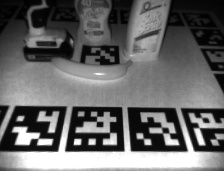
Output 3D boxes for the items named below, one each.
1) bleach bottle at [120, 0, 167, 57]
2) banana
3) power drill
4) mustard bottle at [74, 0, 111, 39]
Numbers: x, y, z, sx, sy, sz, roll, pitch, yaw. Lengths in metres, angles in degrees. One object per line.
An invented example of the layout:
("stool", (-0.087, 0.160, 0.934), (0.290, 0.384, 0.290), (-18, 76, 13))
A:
("bleach bottle", (0.077, -0.184, 0.518), (0.103, 0.252, 0.067), (-4, 49, -7))
("banana", (-0.054, -0.063, 0.525), (0.197, 0.039, 0.074), (4, 51, 1))
("power drill", (-0.155, -0.191, 0.509), (0.185, 0.188, 0.057), (2, 40, -6))
("mustard bottle", (-0.052, -0.218, 0.568), (0.096, 0.192, 0.058), (3, 47, -2))
